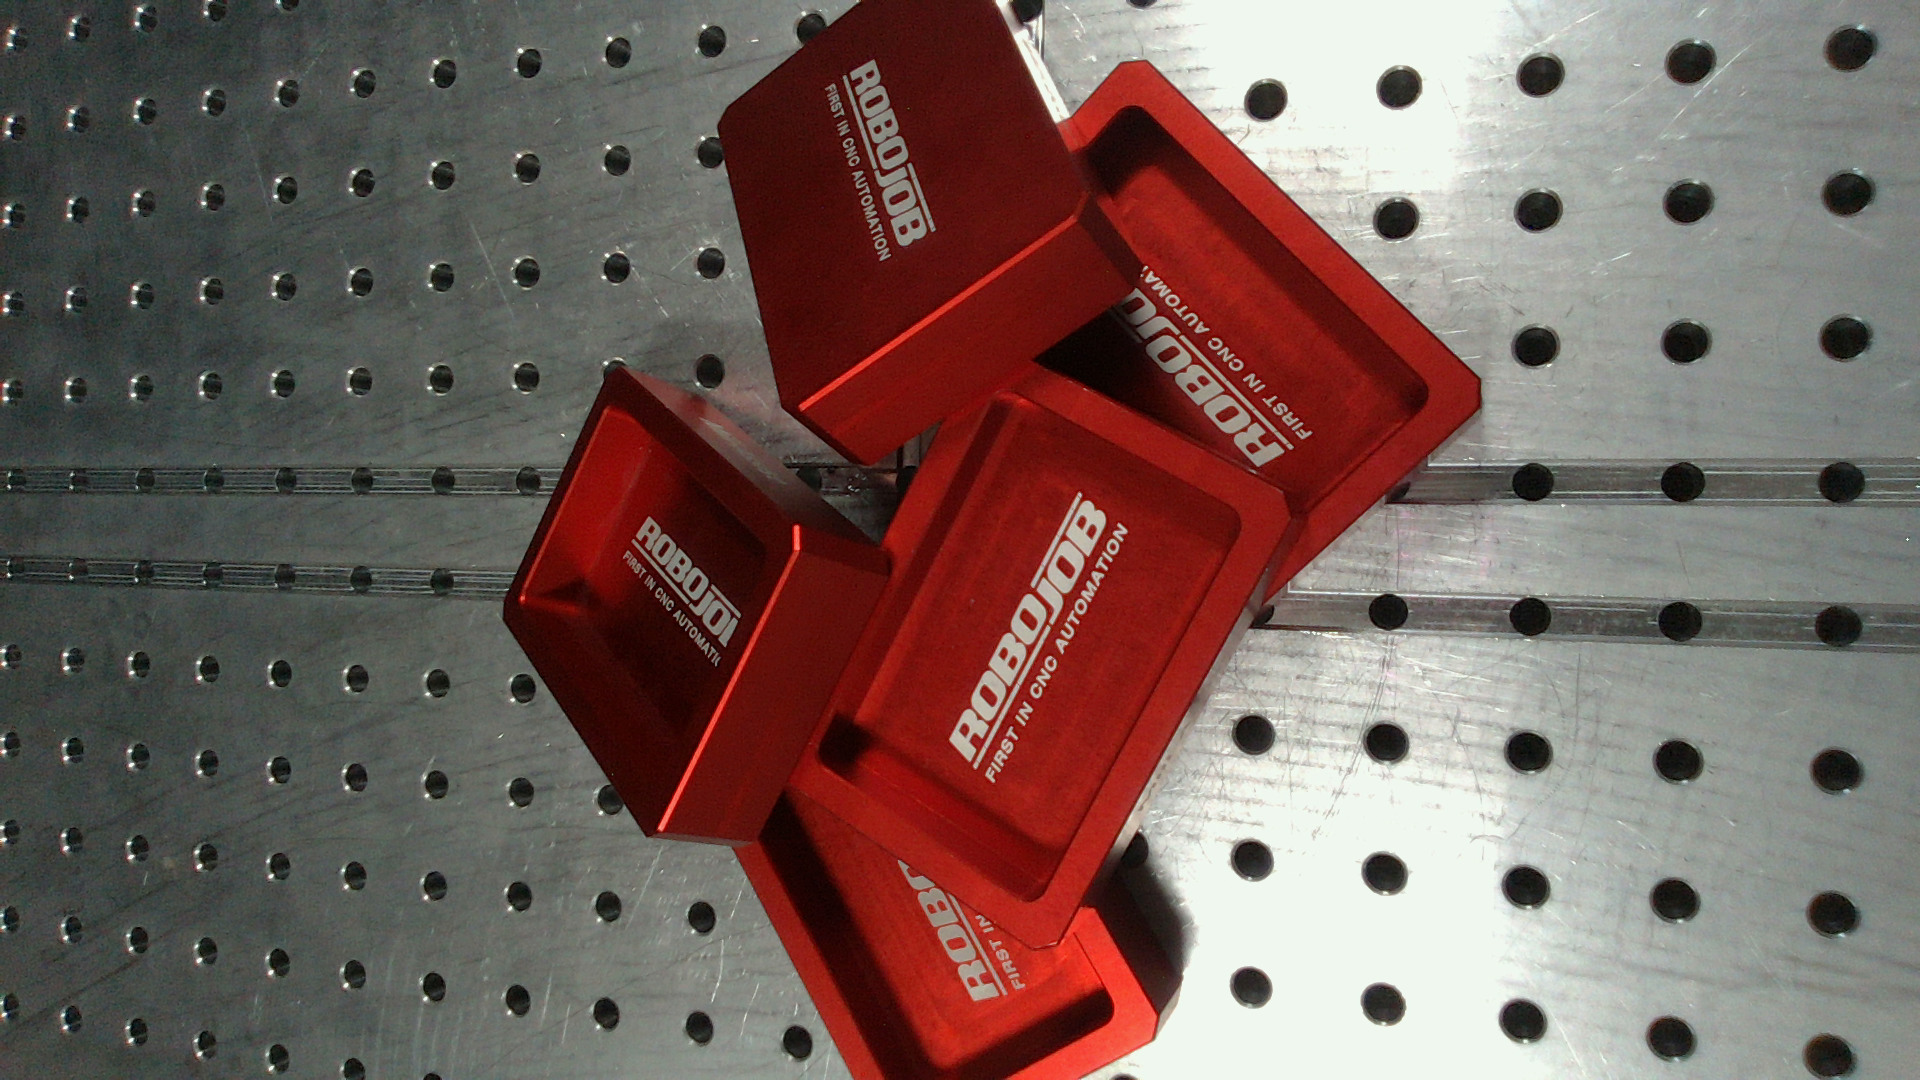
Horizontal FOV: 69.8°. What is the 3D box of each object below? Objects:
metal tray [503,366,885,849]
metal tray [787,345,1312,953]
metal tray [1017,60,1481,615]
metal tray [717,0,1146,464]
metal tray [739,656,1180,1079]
[{"bbox_3d":[-0.082,0.014,0.393,0.130,0.030,0.090,37,104,47],"label":"metal tray"},{"bbox_3d":[0.020,0.027,0.357,0.090,0.030,0.130,30,100,17],"label":"metal tray"},{"bbox_3d":[0.062,-0.052,0.373,0.090,0.030,0.130,-45,76,14],"label":"metal tray"},{"bbox_3d":[-0.014,-0.094,0.368,0.090,0.030,0.130,-32,50,17],"label":"metal tray"},{"bbox_3d":[-0.008,0.098,0.398,0.090,0.030,0.130,-34,79,17],"label":"metal tray"}]
